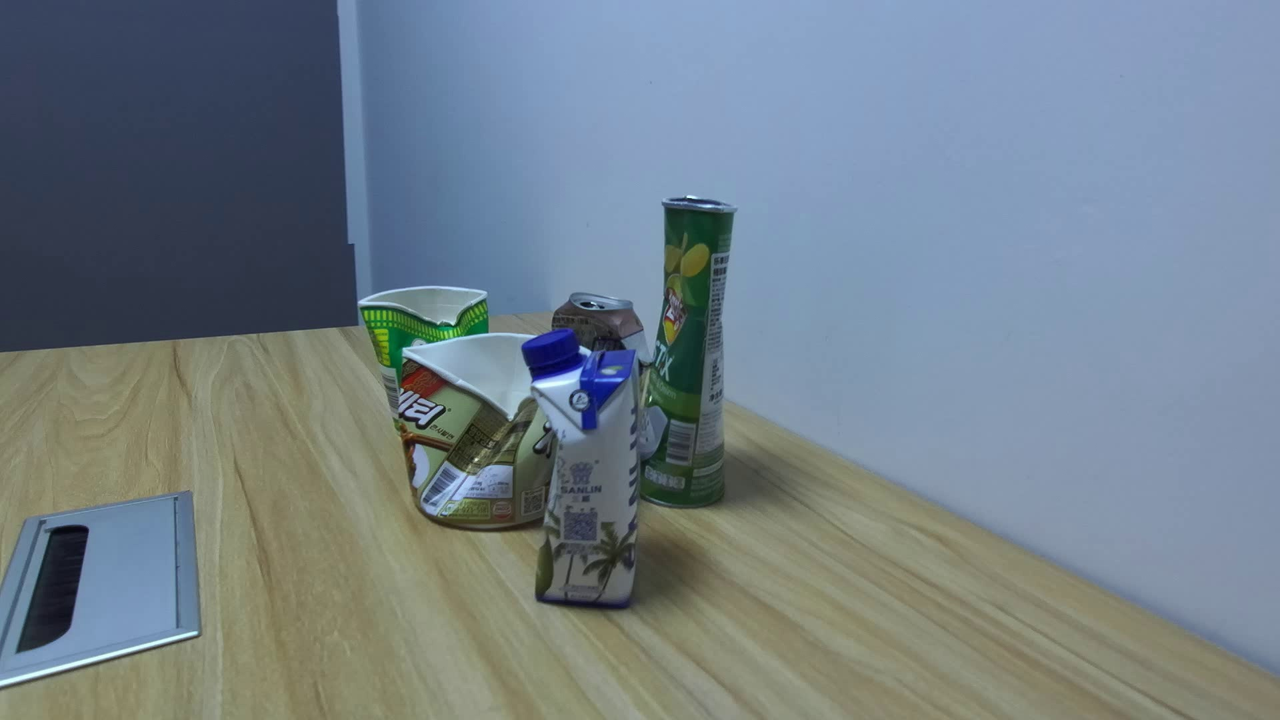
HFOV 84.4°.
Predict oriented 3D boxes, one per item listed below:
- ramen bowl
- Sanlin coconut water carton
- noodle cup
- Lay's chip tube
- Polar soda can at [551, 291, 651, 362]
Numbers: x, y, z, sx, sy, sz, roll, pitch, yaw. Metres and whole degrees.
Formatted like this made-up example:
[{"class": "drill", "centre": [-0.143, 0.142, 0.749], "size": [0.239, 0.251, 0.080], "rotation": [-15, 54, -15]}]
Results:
[{"class": "ramen bowl", "centre": [-0.088, 0.041, 0.474], "size": [0.137, 0.098, 0.137], "rotation": [4, 19, -1]}, {"class": "Sanlin coconut water carton", "centre": [-0.028, 0.055, 0.374], "size": [0.057, 0.142, 0.078], "rotation": [-1, 17, 4]}, {"class": "noodle cup", "centre": [-0.164, 0.001, 0.572], "size": [0.083, 0.122, 0.075], "rotation": [-6, 8, 4]}, {"class": "Lay's chip tube", "centre": [0.034, -0.004, 0.476], "size": [0.074, 0.199, 0.069], "rotation": [17, 21, 37]}, {"class": "Polar soda can", "centre": [-0.033, 0.002, 0.591], "size": [0.074, 0.114, 0.070], "rotation": [-6, 24, -21]}]
